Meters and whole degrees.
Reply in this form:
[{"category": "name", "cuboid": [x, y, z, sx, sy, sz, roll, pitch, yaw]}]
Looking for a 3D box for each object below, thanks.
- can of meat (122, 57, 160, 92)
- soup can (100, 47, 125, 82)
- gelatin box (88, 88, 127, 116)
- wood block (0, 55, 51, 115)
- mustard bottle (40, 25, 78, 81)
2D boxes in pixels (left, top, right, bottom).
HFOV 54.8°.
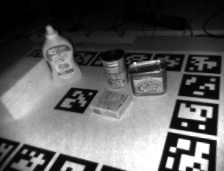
[{"category": "can of meat", "cuboid": [0.085, -0.031, 0.614, 0.101, 0.084, 0.057, -2, 41, 11]}, {"category": "soup can", "cuboid": [0.002, -0.069, 0.656, 0.067, 0.103, 0.067, -9, 40, 9]}, {"category": "gelatin box", "cuboid": [-0.015, 0.039, 0.595, 0.088, 0.030, 0.073, 12, 48, 33]}, {"category": "wood block", "cuboid": [-0.302, -0.012, 0.703, 0.090, 0.090, 0.207, 8, 40, 24]}, {"category": "mustard bottle", "cuboid": [-0.183, -0.106, 0.707, 0.096, 0.193, 0.058, -11, 38, 3]}]
